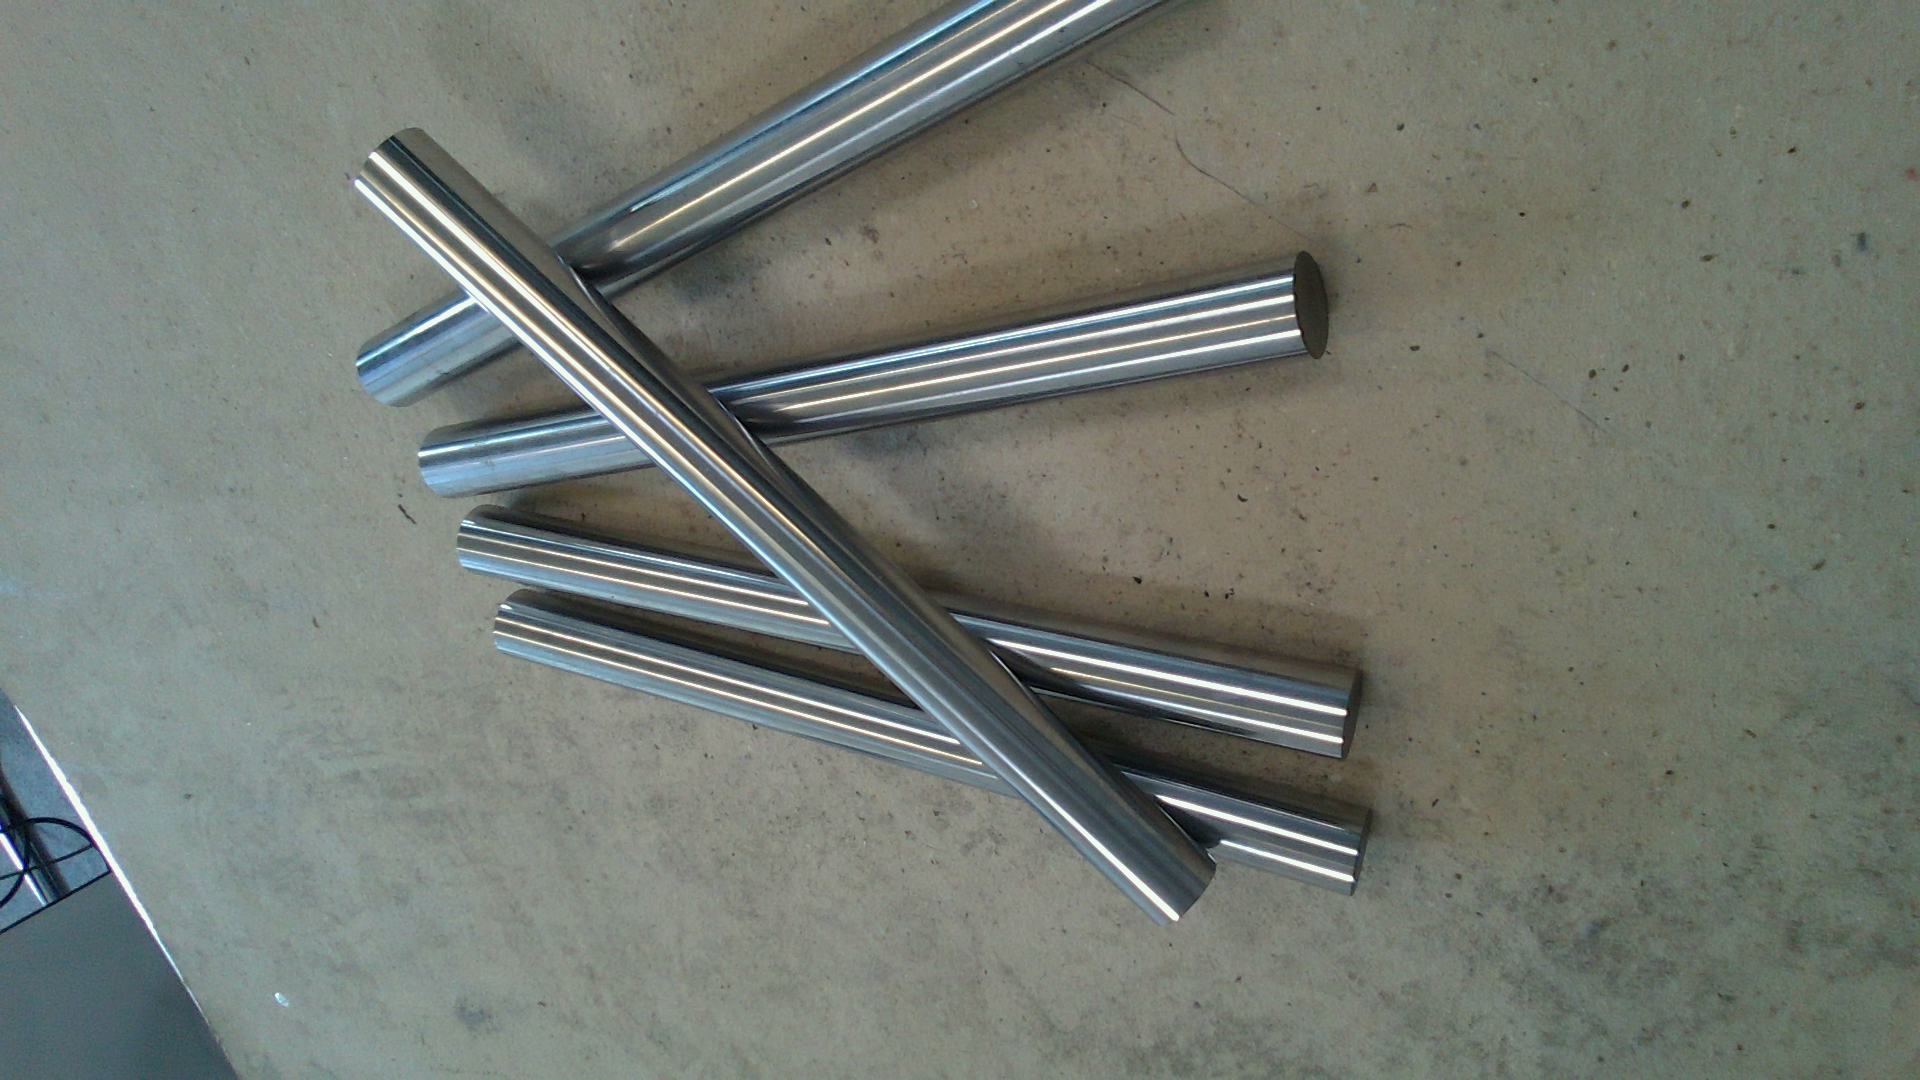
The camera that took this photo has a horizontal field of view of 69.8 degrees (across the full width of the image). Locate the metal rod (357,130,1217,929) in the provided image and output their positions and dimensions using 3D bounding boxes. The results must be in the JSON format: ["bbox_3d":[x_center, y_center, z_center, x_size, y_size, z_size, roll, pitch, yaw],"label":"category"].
[{"bbox_3d":[-0.047,-0.002,0.384,0.300,0.025,0.025,43,129,-1],"label":"metal rod"}]

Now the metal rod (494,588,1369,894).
[{"bbox_3d":[-0.024,0.058,0.442,0.299,0.025,0.025,12,124,22],"label":"metal rod"}]

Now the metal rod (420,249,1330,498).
[{"bbox_3d":[-0.046,-0.041,0.393,0.299,0.025,0.025,-6,115,31],"label":"metal rod"}]

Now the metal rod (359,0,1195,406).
[{"bbox_3d":[-0.071,-0.092,0.375,0.299,0.025,0.025,-17,110,35],"label":"metal rod"}]

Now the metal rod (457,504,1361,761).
[{"bbox_3d":[-0.032,0.023,0.424,0.299,0.025,0.025,10,123,23],"label":"metal rod"}]
